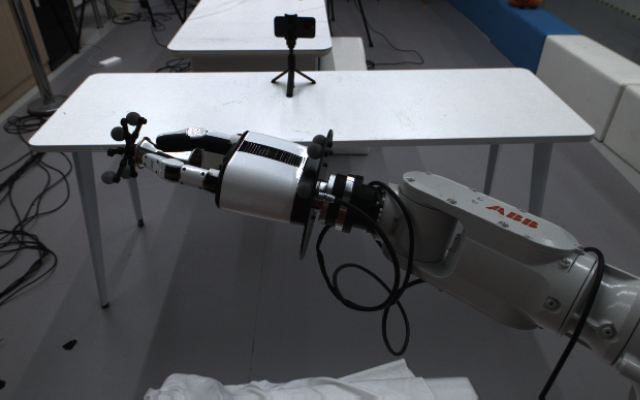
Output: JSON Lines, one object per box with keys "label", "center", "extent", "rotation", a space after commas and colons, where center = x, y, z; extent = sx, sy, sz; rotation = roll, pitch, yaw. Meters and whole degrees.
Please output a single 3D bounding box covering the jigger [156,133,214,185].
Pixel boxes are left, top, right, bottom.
{"label": "jigger", "center": [-0.178, -0.051, 0.588], "extent": [0.071, 0.043, 0.043], "rotation": [14, 36, 4]}
